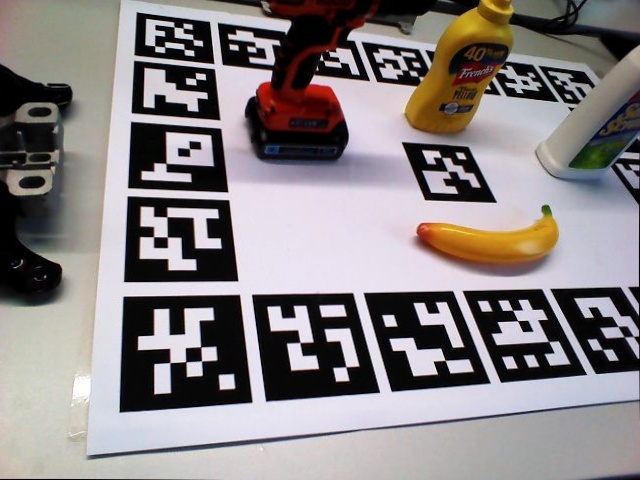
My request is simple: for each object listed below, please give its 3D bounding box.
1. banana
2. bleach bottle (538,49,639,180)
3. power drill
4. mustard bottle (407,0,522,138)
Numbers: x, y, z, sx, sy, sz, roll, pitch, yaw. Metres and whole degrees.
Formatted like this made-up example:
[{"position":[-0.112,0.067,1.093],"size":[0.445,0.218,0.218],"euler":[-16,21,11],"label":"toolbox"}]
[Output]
[{"position":[0.211,-0.006,0.578],"size":[0.197,0.039,0.074],"euler":[-6,58,-19],"label":"banana"},{"position":[0.392,-0.183,0.647],"size":[0.102,0.252,0.067],"euler":[7,52,-14],"label":"bleach bottle"},{"position":[0.028,-0.196,0.539],"size":[0.184,0.188,0.057],"euler":[-7,57,-18],"label":"power drill"},{"position":[0.190,-0.216,0.648],"size":[0.096,0.193,0.058],"euler":[-6,56,-24],"label":"mustard bottle"}]
